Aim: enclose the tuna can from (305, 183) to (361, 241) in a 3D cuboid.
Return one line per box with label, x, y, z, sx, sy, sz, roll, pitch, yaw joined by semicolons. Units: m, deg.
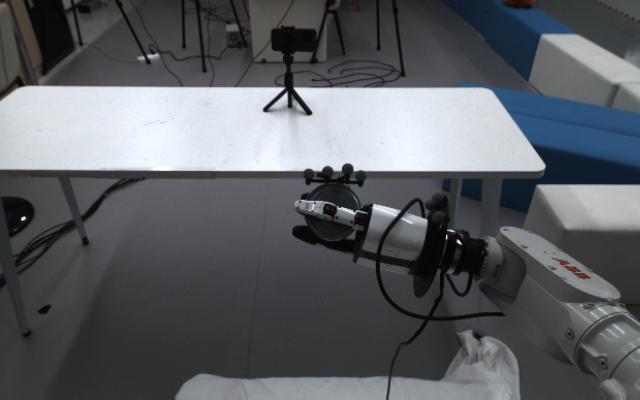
tuna can;0.019;0.018;0.727;0.085;0.034;0.085;-1;76;4
